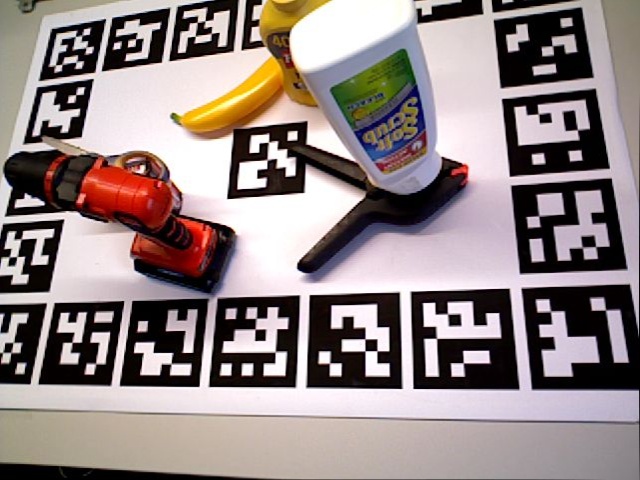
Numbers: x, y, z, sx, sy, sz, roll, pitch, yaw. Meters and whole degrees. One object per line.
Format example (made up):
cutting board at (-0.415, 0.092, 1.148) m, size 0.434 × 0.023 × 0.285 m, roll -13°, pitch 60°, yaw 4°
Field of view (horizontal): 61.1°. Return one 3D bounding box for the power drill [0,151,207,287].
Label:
power drill at (-0.210, -0.021, 0.553) m, size 0.185 × 0.189 × 0.056 m, roll 10°, pitch 64°, yaw 20°

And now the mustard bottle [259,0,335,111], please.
mustard bottle at (-0.016, -0.224, 0.612) m, size 0.096 × 0.193 × 0.058 m, roll 12°, pitch 71°, yaw 16°

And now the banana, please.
banana at (-0.107, -0.207, 0.702) m, size 0.197 × 0.039 × 0.074 m, roll -39°, pitch 49°, yaw -2°

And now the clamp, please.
clamp at (0.061, -0.060, 0.594) m, size 0.203 × 0.037 × 0.164 m, roll -9°, pitch 70°, yaw 10°

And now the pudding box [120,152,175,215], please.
pudding box at (-0.247, -0.067, 0.665) m, size 0.114 × 0.091 × 0.038 m, roll 2°, pitch 62°, yaw 14°

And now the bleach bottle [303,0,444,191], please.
bleach bottle at (0.074, -0.116, 0.496) m, size 0.103 × 0.251 × 0.067 m, roll -22°, pitch 61°, yaw 12°

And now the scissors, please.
scissors at (-0.269, -0.098, 0.611) m, size 0.203 × 0.016 × 0.087 m, roll 23°, pitch 81°, yaw 16°
